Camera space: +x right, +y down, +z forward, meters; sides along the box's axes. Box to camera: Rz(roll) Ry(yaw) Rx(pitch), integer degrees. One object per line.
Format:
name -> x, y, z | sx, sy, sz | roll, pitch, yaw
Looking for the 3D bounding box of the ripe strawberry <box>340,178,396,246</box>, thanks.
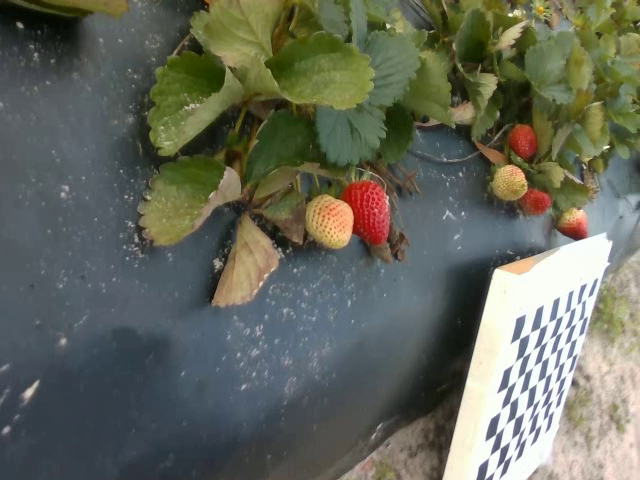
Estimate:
ripe strawberry -> 0.026, -0.014, 0.337 | 0.033, 0.042, 0.034 | -39, -39, 7
